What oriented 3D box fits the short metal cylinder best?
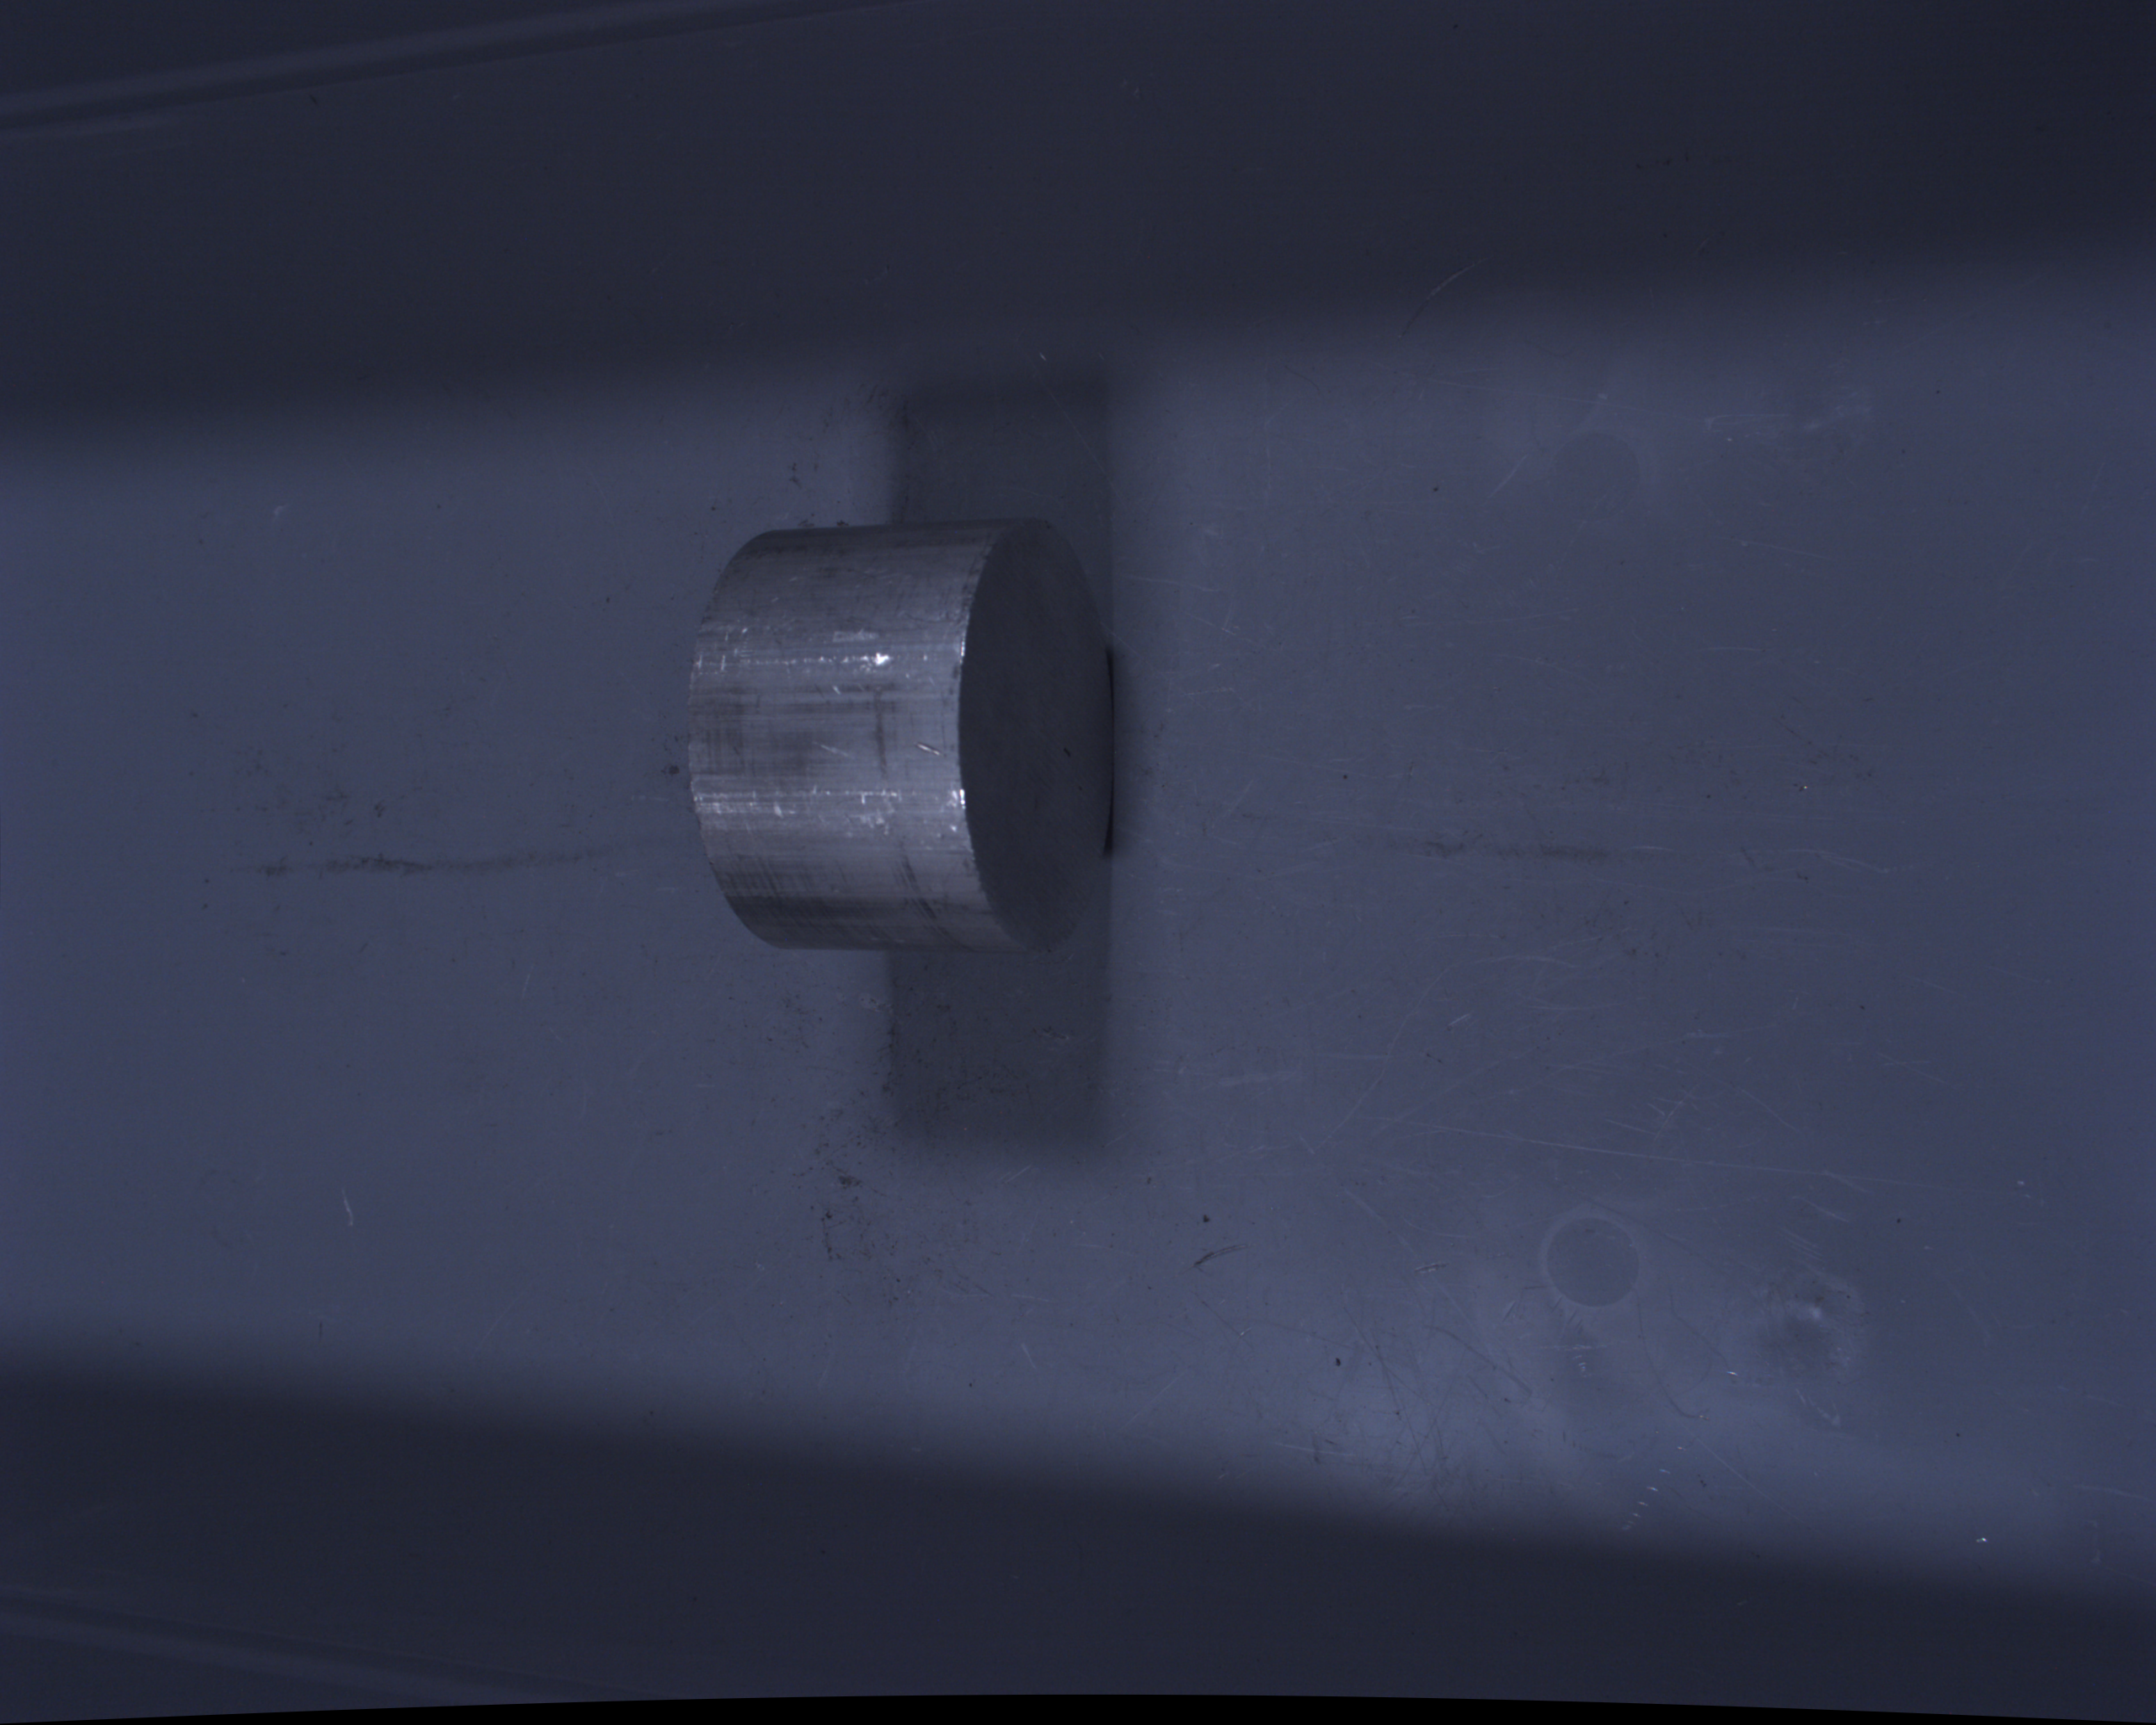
[{"bbox_3d":[-0.030,-0.023,0.388,0.050,0.080,0.079,0,90,20],"label":"short metal cylinder"}]
